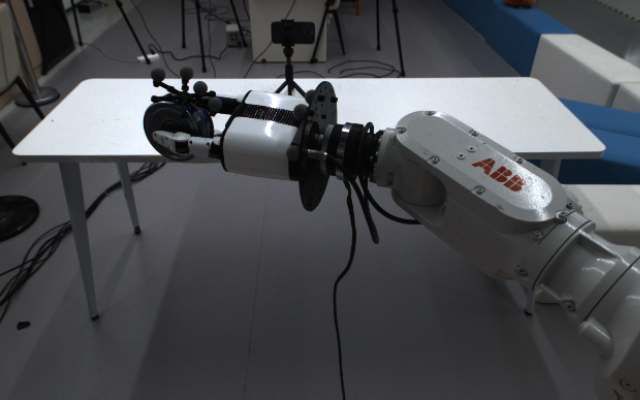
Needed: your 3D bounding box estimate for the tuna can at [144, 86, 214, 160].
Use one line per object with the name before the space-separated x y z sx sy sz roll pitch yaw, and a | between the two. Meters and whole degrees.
tuna can | -0.184 -0.093 0.629 0.085 0.085 0.034 11 35 13
